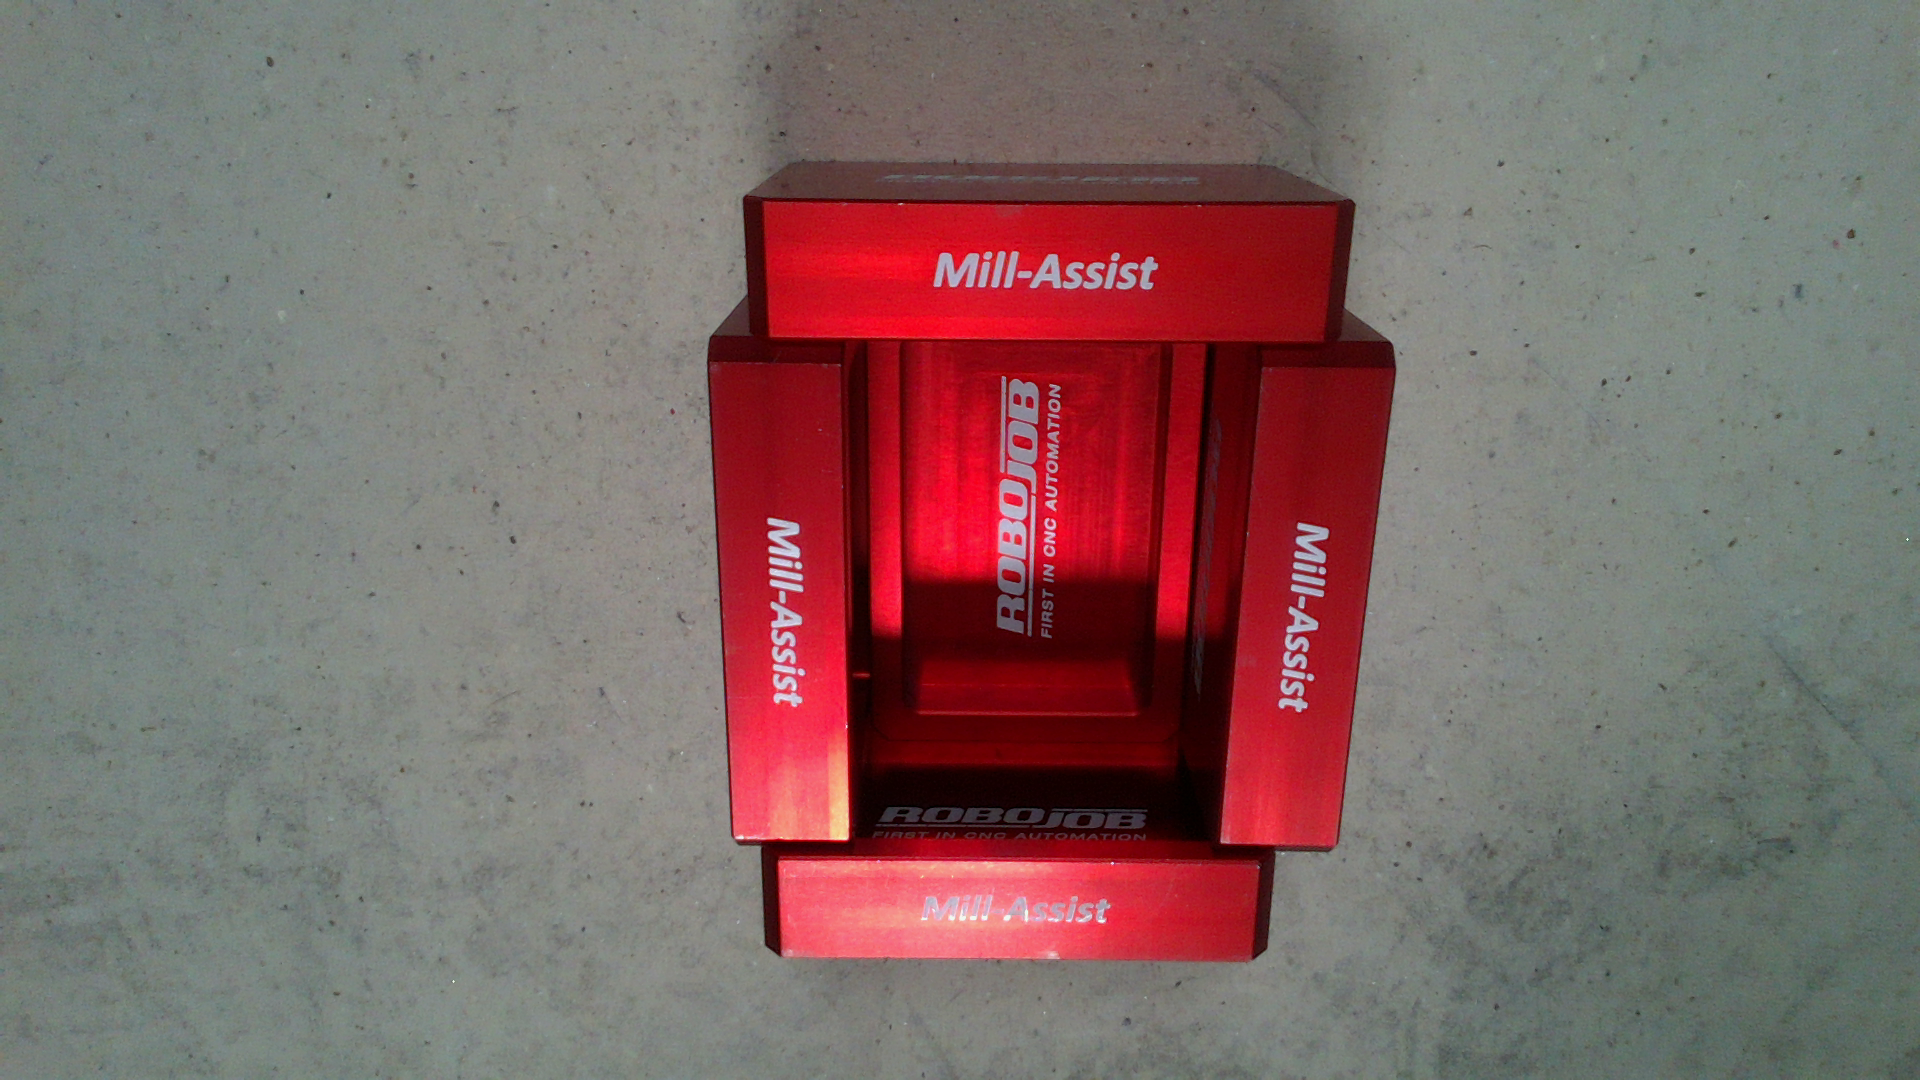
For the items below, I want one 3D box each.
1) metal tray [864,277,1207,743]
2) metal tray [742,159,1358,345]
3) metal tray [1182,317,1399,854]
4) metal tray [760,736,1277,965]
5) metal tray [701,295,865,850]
[{"bbox_3d":[0.019,-0.008,0.389,0.090,0.030,0.130,1,110,0],"label":"metal tray"},{"bbox_3d":[0.019,-0.072,0.332,0.130,0.090,0.030,1,110,0],"label":"metal tray"},{"bbox_3d":[0.080,0.004,0.361,0.030,0.090,0.130,1,110,0],"label":"metal tray"},{"bbox_3d":[0.015,0.079,0.388,0.130,0.090,0.030,1,110,0],"label":"metal tray"},{"bbox_3d":[-0.041,0.003,0.360,0.030,0.090,0.130,1,110,0],"label":"metal tray"}]
